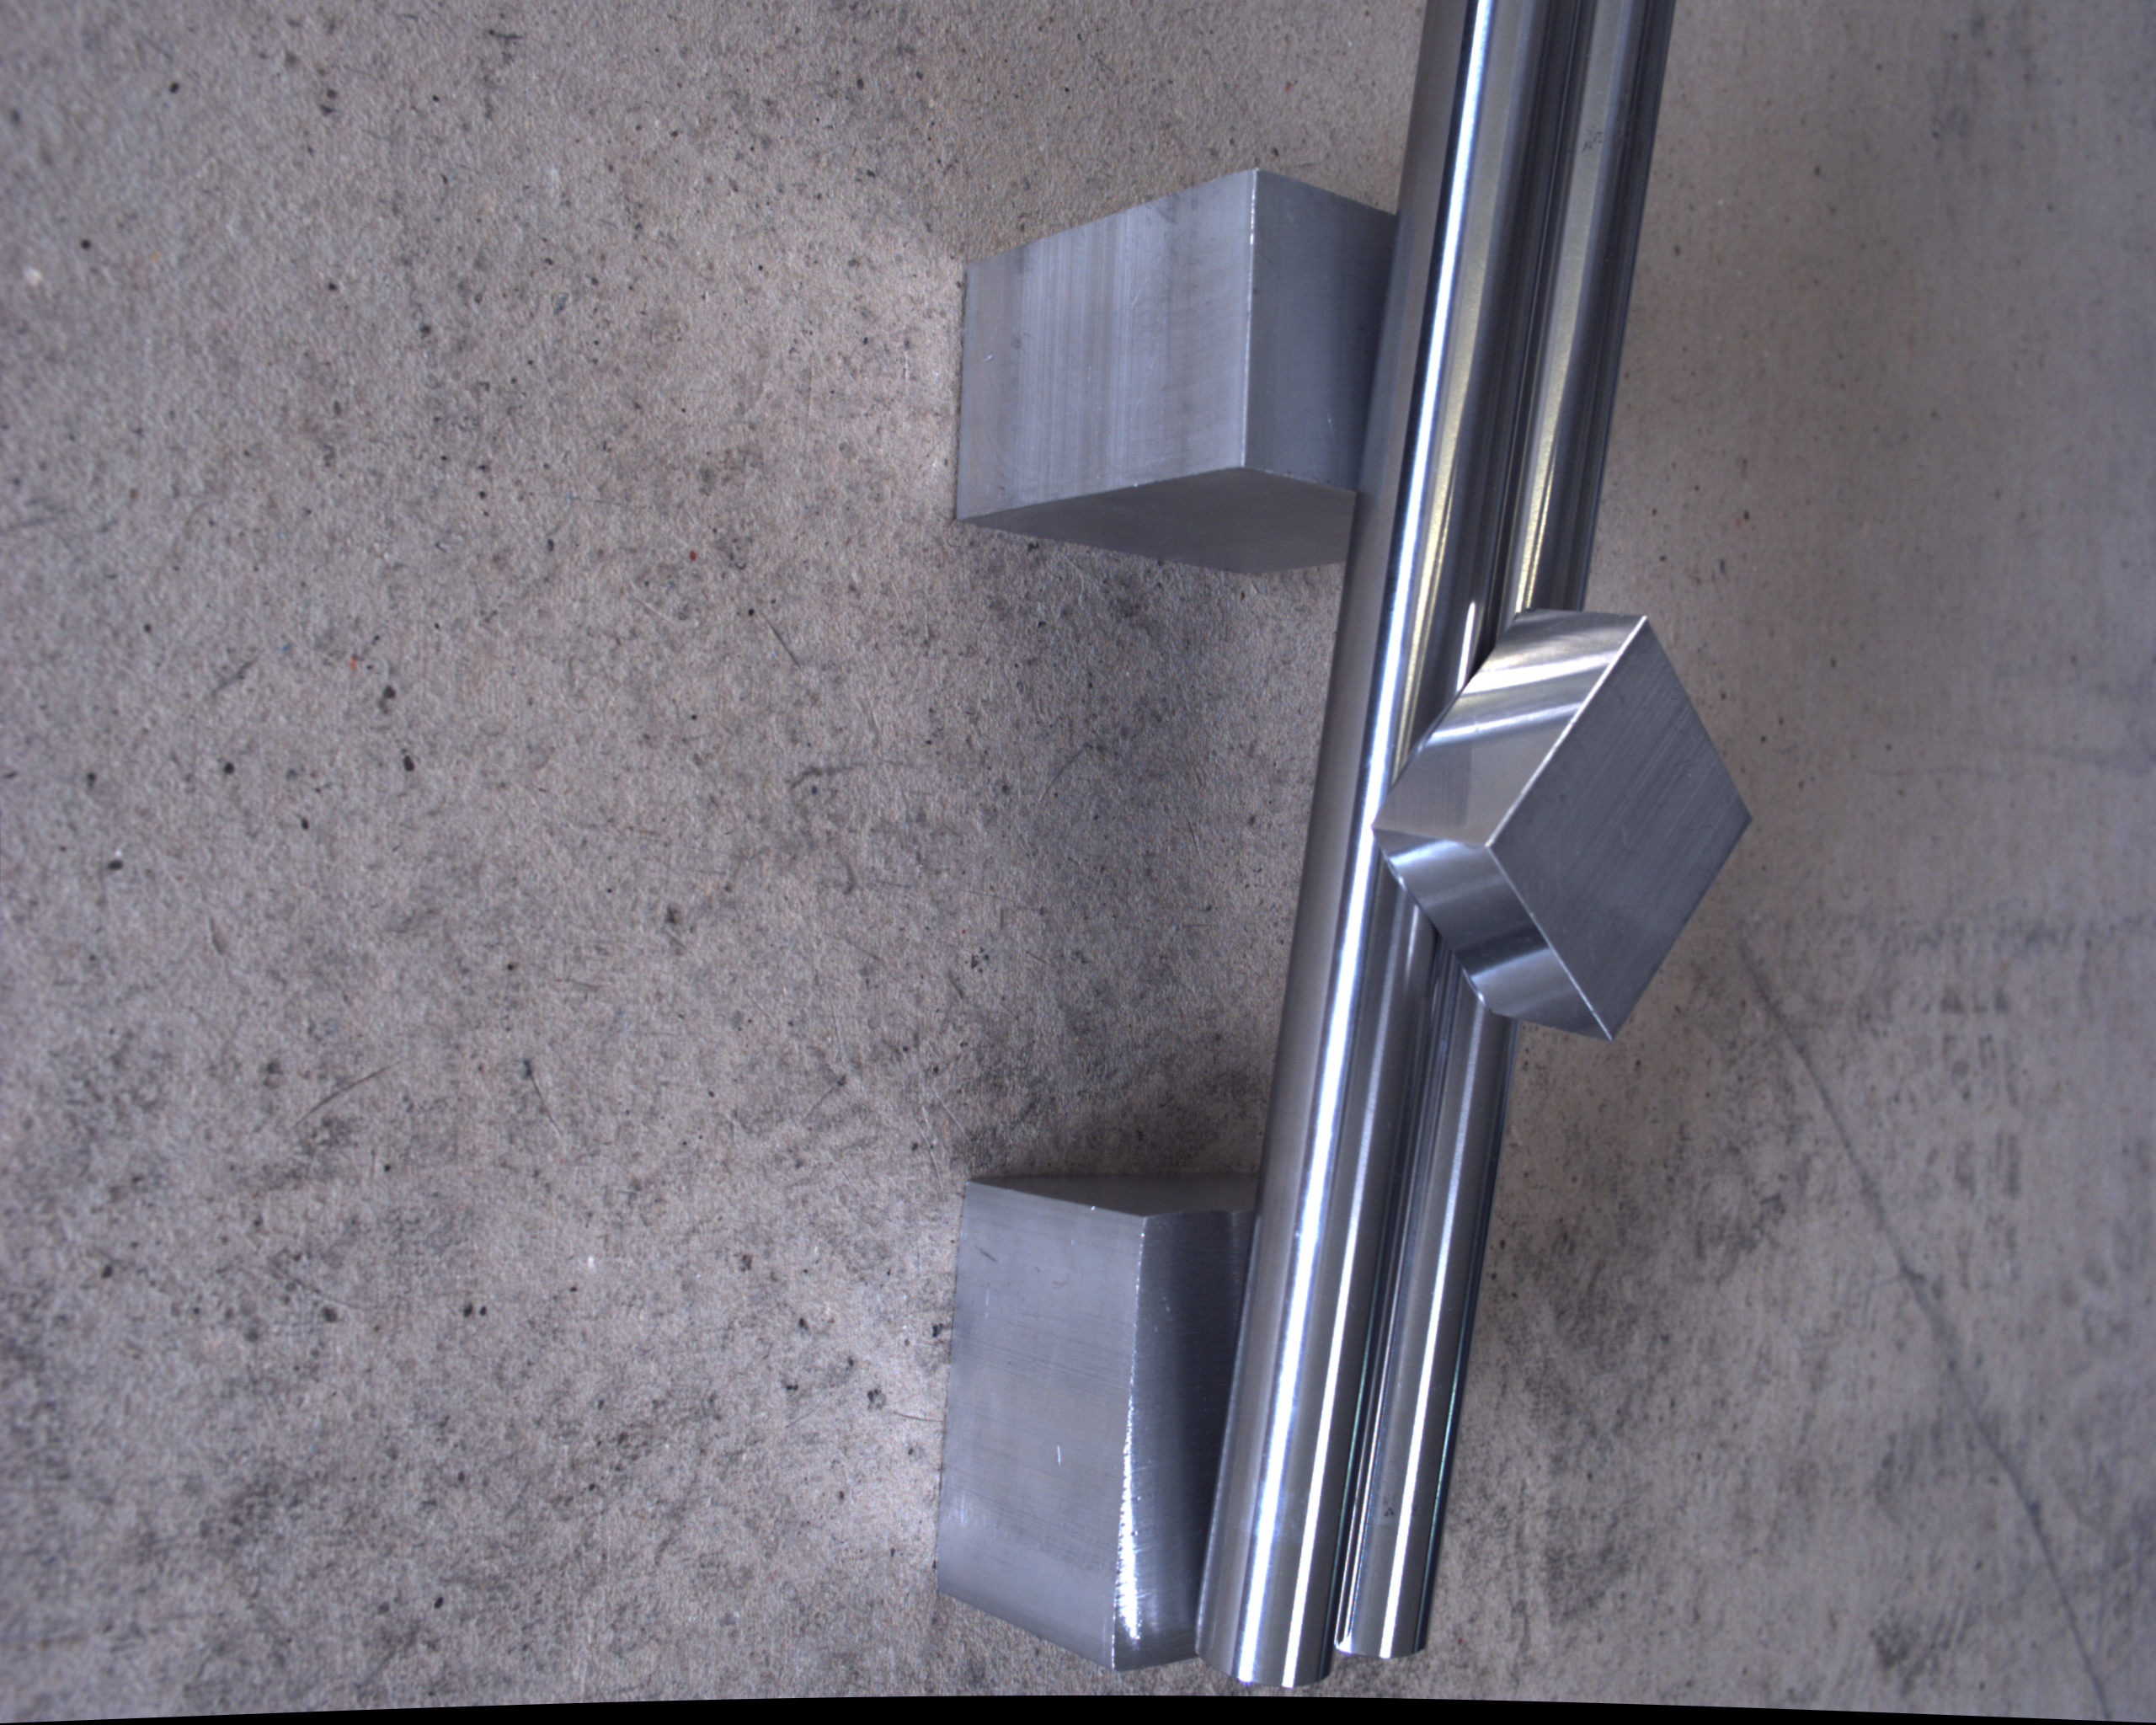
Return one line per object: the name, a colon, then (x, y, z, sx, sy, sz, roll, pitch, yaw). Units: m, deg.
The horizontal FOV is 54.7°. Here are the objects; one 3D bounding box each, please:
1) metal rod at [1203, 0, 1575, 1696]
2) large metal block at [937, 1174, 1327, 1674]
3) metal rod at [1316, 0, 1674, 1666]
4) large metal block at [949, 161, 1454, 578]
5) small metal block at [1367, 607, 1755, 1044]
metal rod: (0.053, -0.008, 0.355, 0.025, 0.025, 0.298, 4, 95, -40)
large metal block: (0.023, 0.104, 0.408, 0.081, 0.050, 0.080, 6, 86, -40)
metal rod: (0.073, -0.007, 0.372, 0.025, 0.025, 0.298, 4, 95, -40)
large metal block: (0.033, -0.088, 0.398, 0.081, 0.080, 0.050, 4, 88, -40)
small metal block: (0.082, -0.007, 0.347, 0.050, 0.025, 0.050, -53, 126, -20)
